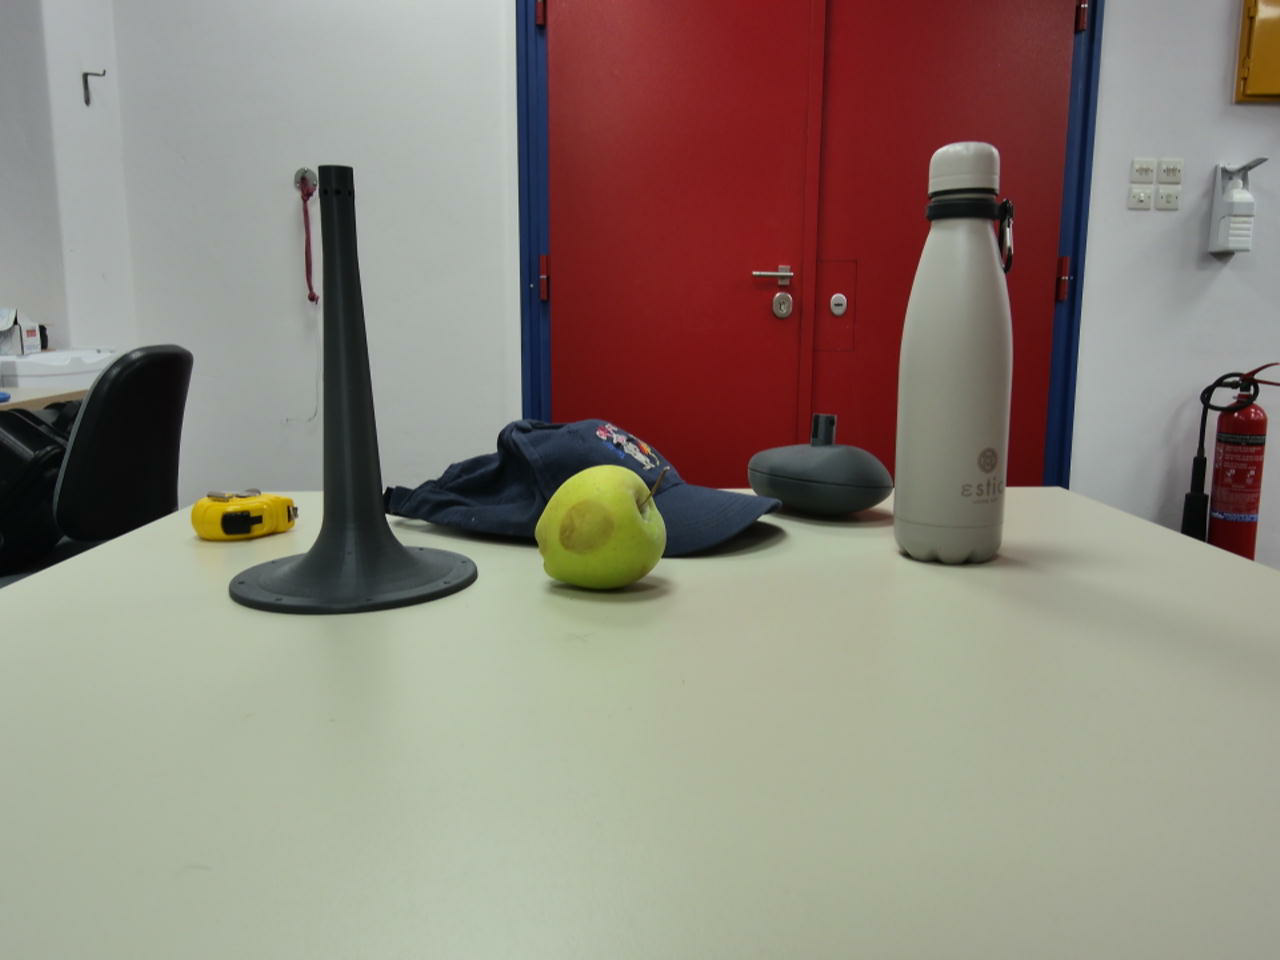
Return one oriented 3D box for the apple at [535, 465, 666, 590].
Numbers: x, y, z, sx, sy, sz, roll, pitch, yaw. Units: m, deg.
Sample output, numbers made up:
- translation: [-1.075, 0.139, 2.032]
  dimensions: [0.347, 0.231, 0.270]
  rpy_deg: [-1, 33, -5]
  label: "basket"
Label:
- translation: [-0.023, 0.028, 0.614]
  dimensions: [0.077, 0.075, 0.072]
  rpy_deg: [8, 10, 43]
  label: "apple"
